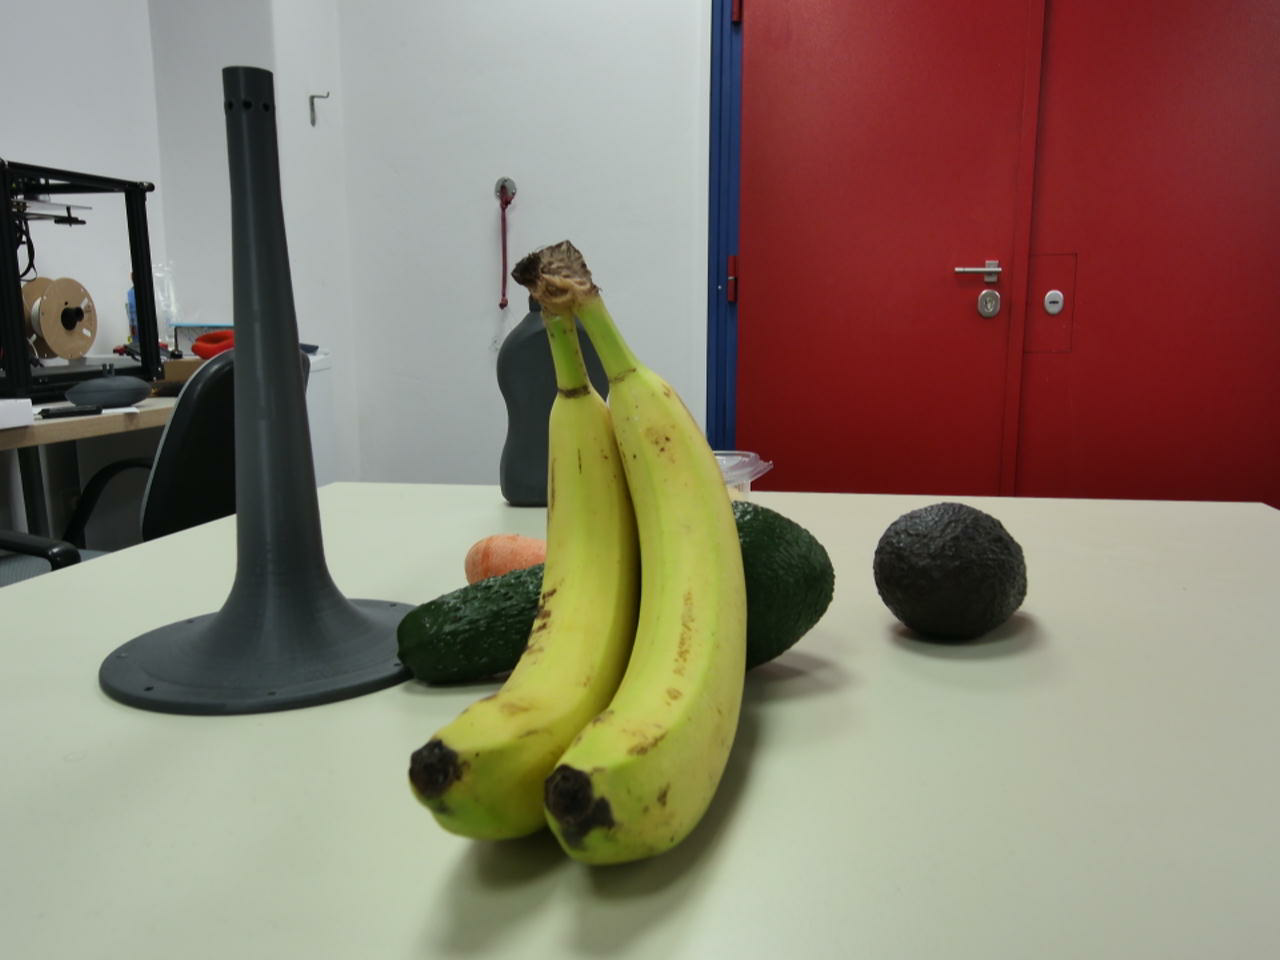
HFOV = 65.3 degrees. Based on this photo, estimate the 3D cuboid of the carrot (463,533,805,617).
[{"bbox_3d":[-0.005,0.053,0.566,0.196,0.041,0.039,1,7,11],"label":"carrot"}]
